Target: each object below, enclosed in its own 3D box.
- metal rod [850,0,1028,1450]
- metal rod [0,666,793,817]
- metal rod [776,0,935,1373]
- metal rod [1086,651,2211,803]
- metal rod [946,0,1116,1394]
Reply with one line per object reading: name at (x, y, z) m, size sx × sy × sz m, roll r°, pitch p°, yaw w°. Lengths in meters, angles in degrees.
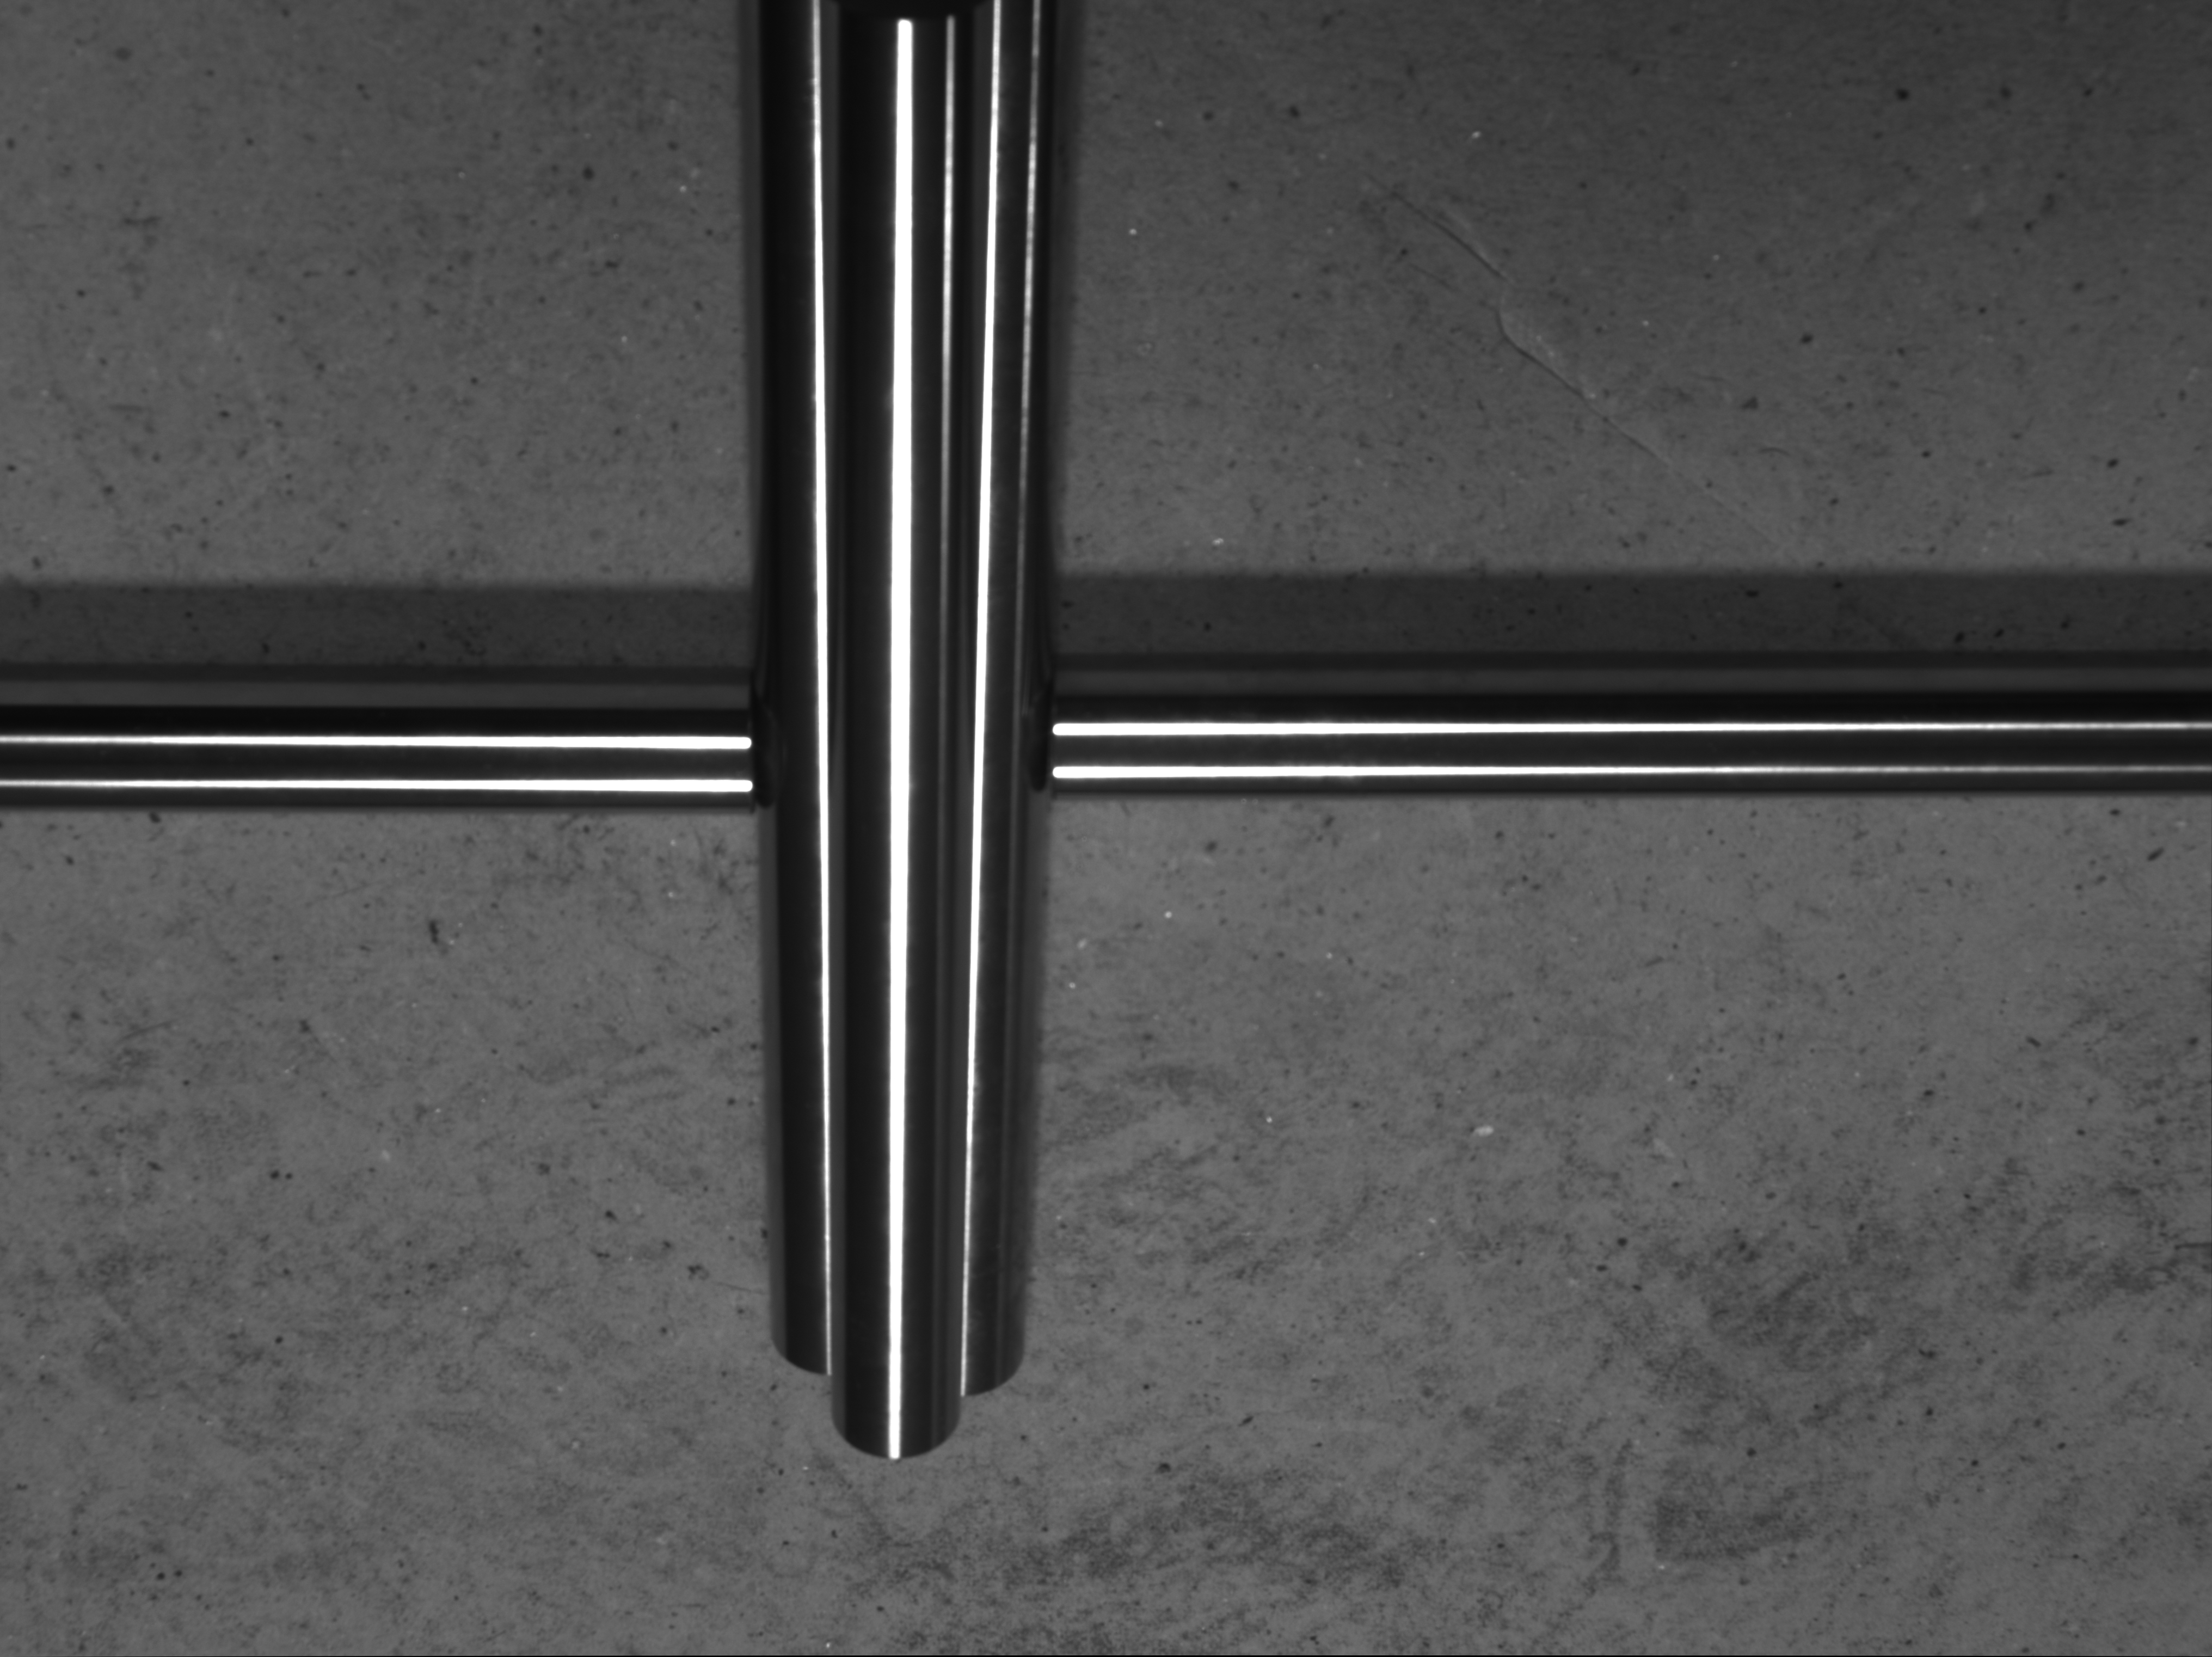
metal rod at (-0.029, -0.005, 0.607) m, size 0.025 × 0.025 × 0.300 m, roll 1°, pitch 130°, yaw -2°
metal rod at (-0.204, -0.015, 0.619) m, size 0.300 × 0.025 × 0.025 m, roll 0°, pitch 130°, yaw -2°
metal rod at (-0.041, -0.017, 0.624) m, size 0.025 × 0.025 × 0.300 m, roll 1°, pitch 130°, yaw -2°
metal rod at (0.147, -0.018, 0.628) m, size 0.300 × 0.025 × 0.025 m, roll 0°, pitch 130°, yaw -2°
metal rod at (-0.016, -0.013, 0.628) m, size 0.025 × 0.025 × 0.300 m, roll 1°, pitch 130°, yaw -2°
